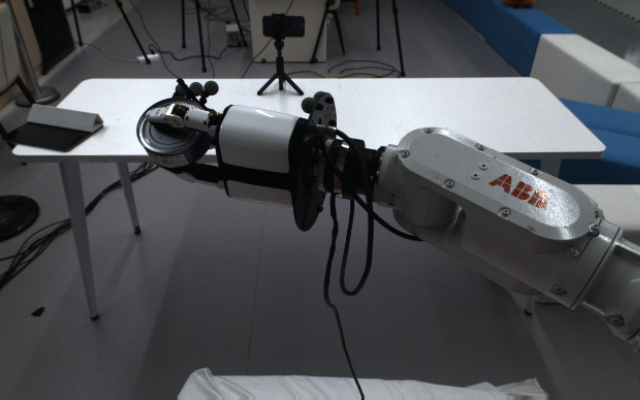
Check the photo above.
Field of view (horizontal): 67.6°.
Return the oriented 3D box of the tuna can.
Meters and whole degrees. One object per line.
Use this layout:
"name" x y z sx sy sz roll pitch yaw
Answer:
"tuna can" -0.178 -0.083 0.597 0.085 0.034 0.085 -2 59 3
